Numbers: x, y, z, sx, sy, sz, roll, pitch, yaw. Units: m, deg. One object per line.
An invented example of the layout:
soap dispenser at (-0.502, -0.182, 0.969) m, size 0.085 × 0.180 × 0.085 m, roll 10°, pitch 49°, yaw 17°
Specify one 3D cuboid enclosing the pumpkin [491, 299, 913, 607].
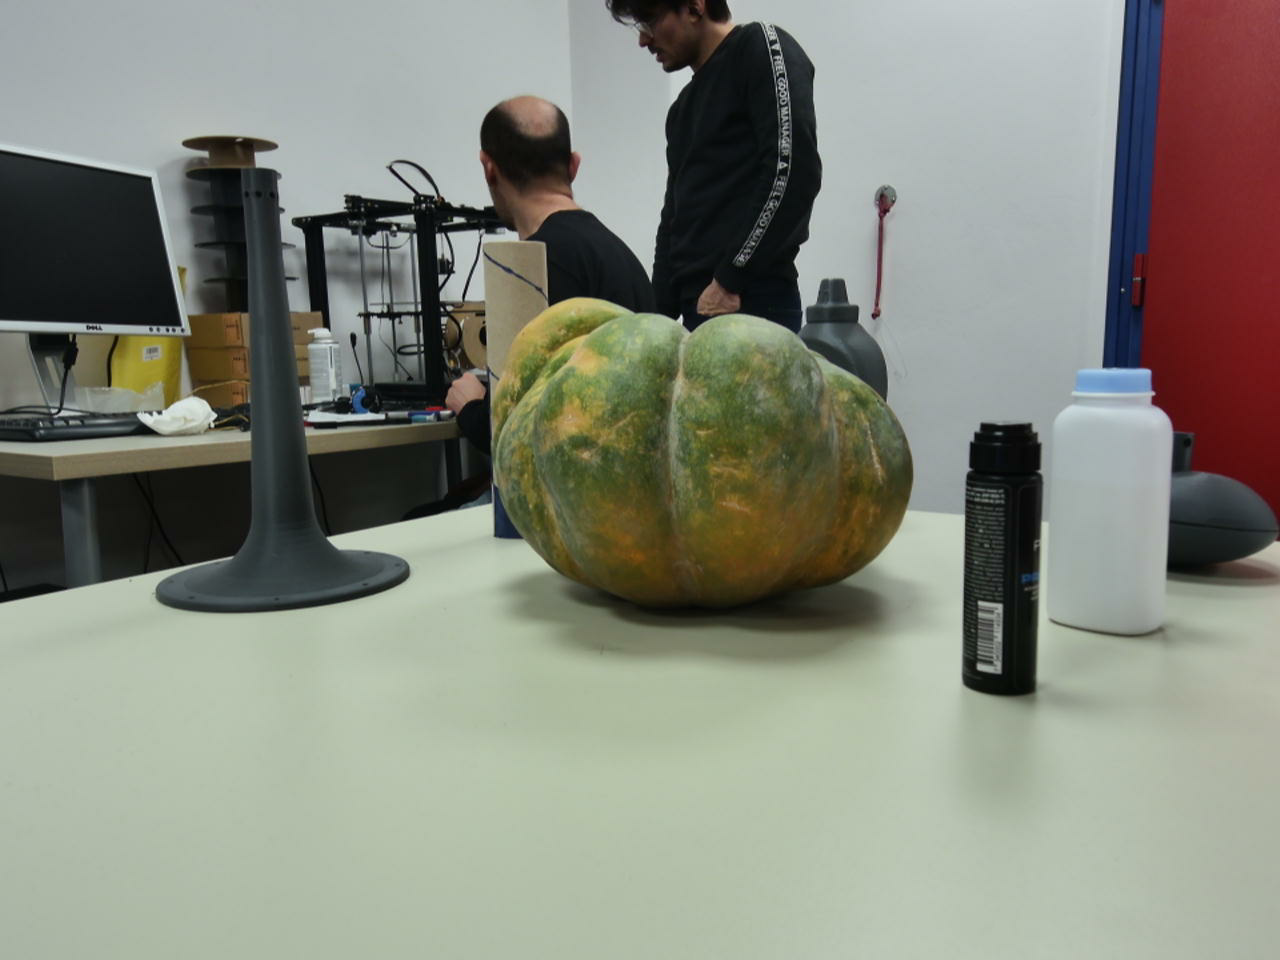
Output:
pumpkin at (0.034, -0.019, 0.590) m, size 0.237 × 0.173 × 0.270 m, roll -1°, pitch 6°, yaw -17°
